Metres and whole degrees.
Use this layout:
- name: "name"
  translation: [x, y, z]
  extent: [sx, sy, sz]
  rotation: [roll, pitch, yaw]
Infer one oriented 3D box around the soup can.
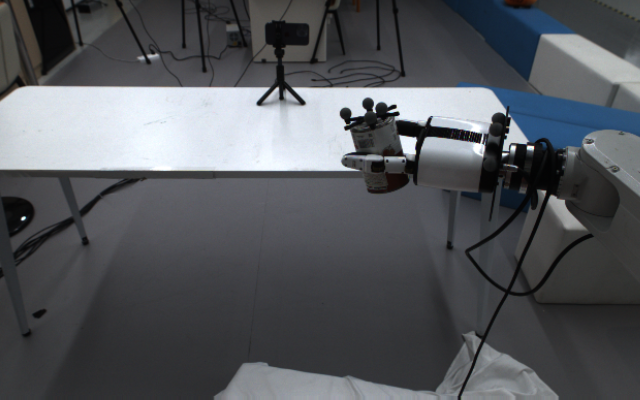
- name: "soup can"
  translation: [0.089, -0.069, 0.711]
  extent: [0.067, 0.101, 0.067]
  rotation: [-16, 23, 7]
